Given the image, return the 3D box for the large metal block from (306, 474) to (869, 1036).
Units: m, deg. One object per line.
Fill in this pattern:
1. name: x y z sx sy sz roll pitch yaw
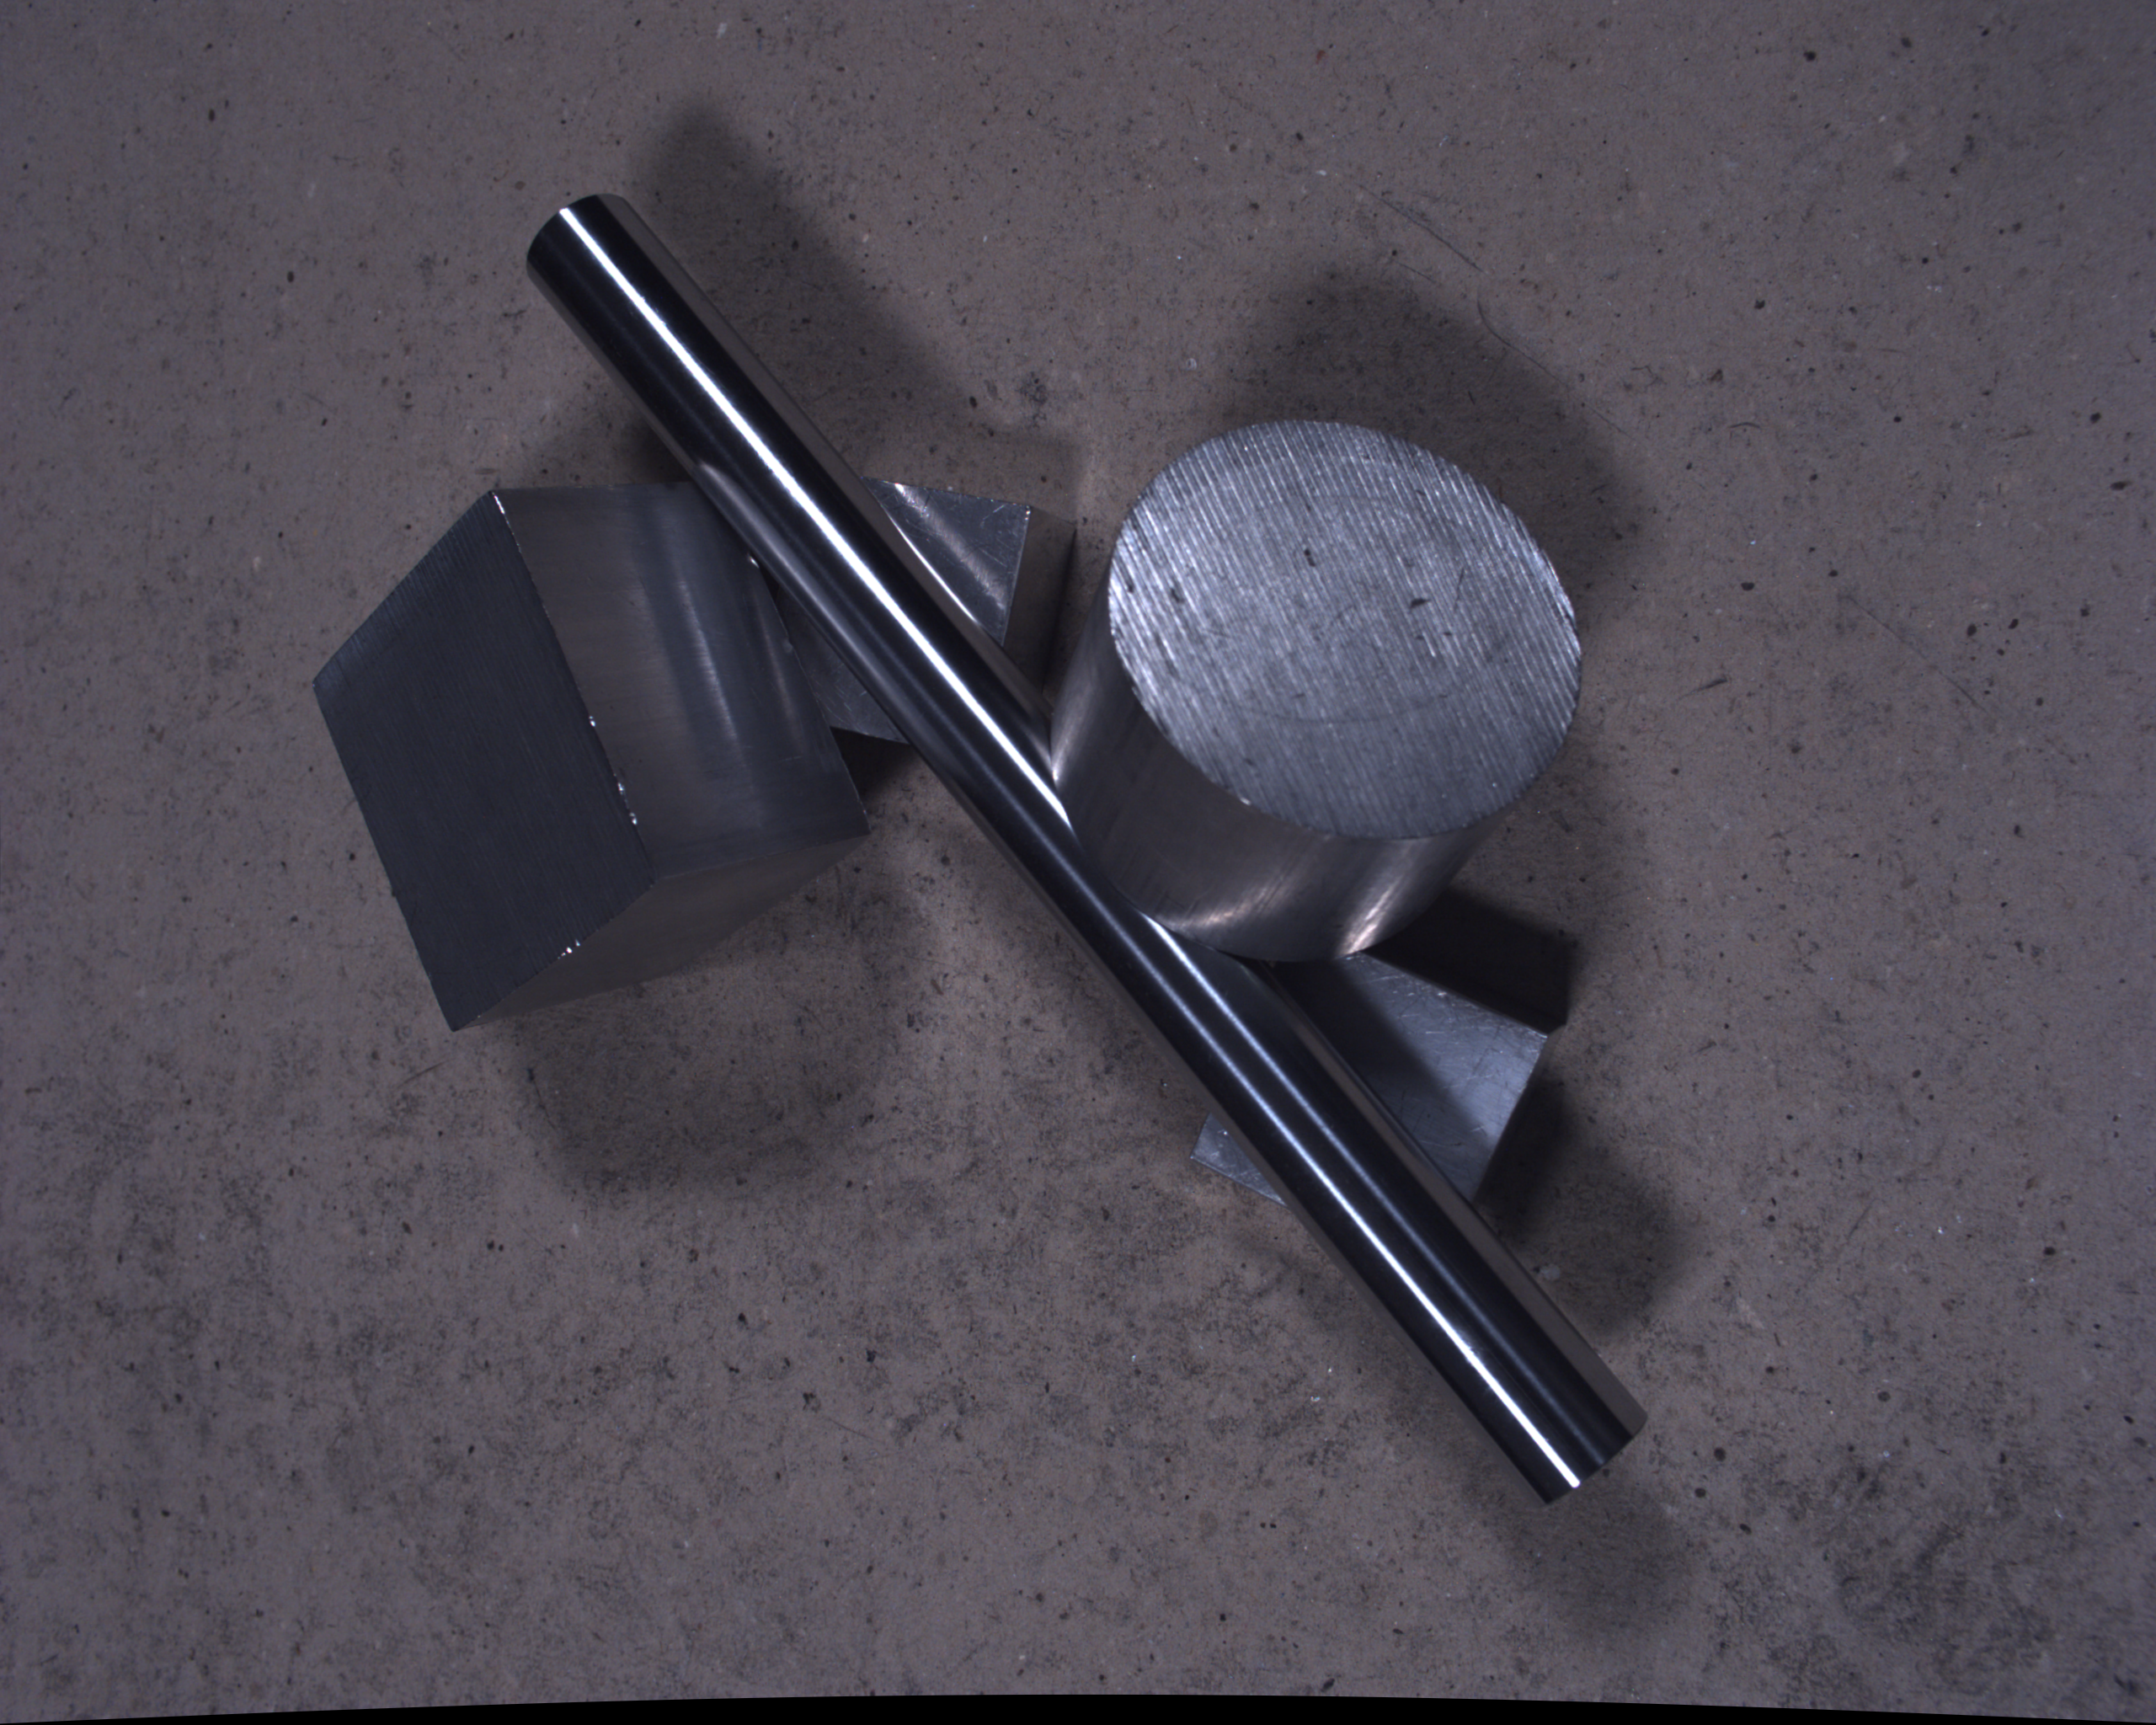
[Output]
1. large metal block: -0.099 -0.021 0.413 0.080 0.050 0.080 -31 80 41

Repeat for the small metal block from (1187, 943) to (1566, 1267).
1. small metal block: 0.056 0.043 0.390 0.050 0.025 0.050 26 98 17

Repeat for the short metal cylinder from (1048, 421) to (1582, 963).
1. short metal cylinder: 0.039 -0.029 0.361 0.081 0.050 0.080 5 64 -11

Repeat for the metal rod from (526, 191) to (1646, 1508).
1. metal rod: -0.007 -0.012 0.385 0.025 0.025 0.300 -43 77 15

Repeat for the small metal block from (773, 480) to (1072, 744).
1. small metal block: -0.034 -0.049 0.421 0.050 0.025 0.050 13 94 19
